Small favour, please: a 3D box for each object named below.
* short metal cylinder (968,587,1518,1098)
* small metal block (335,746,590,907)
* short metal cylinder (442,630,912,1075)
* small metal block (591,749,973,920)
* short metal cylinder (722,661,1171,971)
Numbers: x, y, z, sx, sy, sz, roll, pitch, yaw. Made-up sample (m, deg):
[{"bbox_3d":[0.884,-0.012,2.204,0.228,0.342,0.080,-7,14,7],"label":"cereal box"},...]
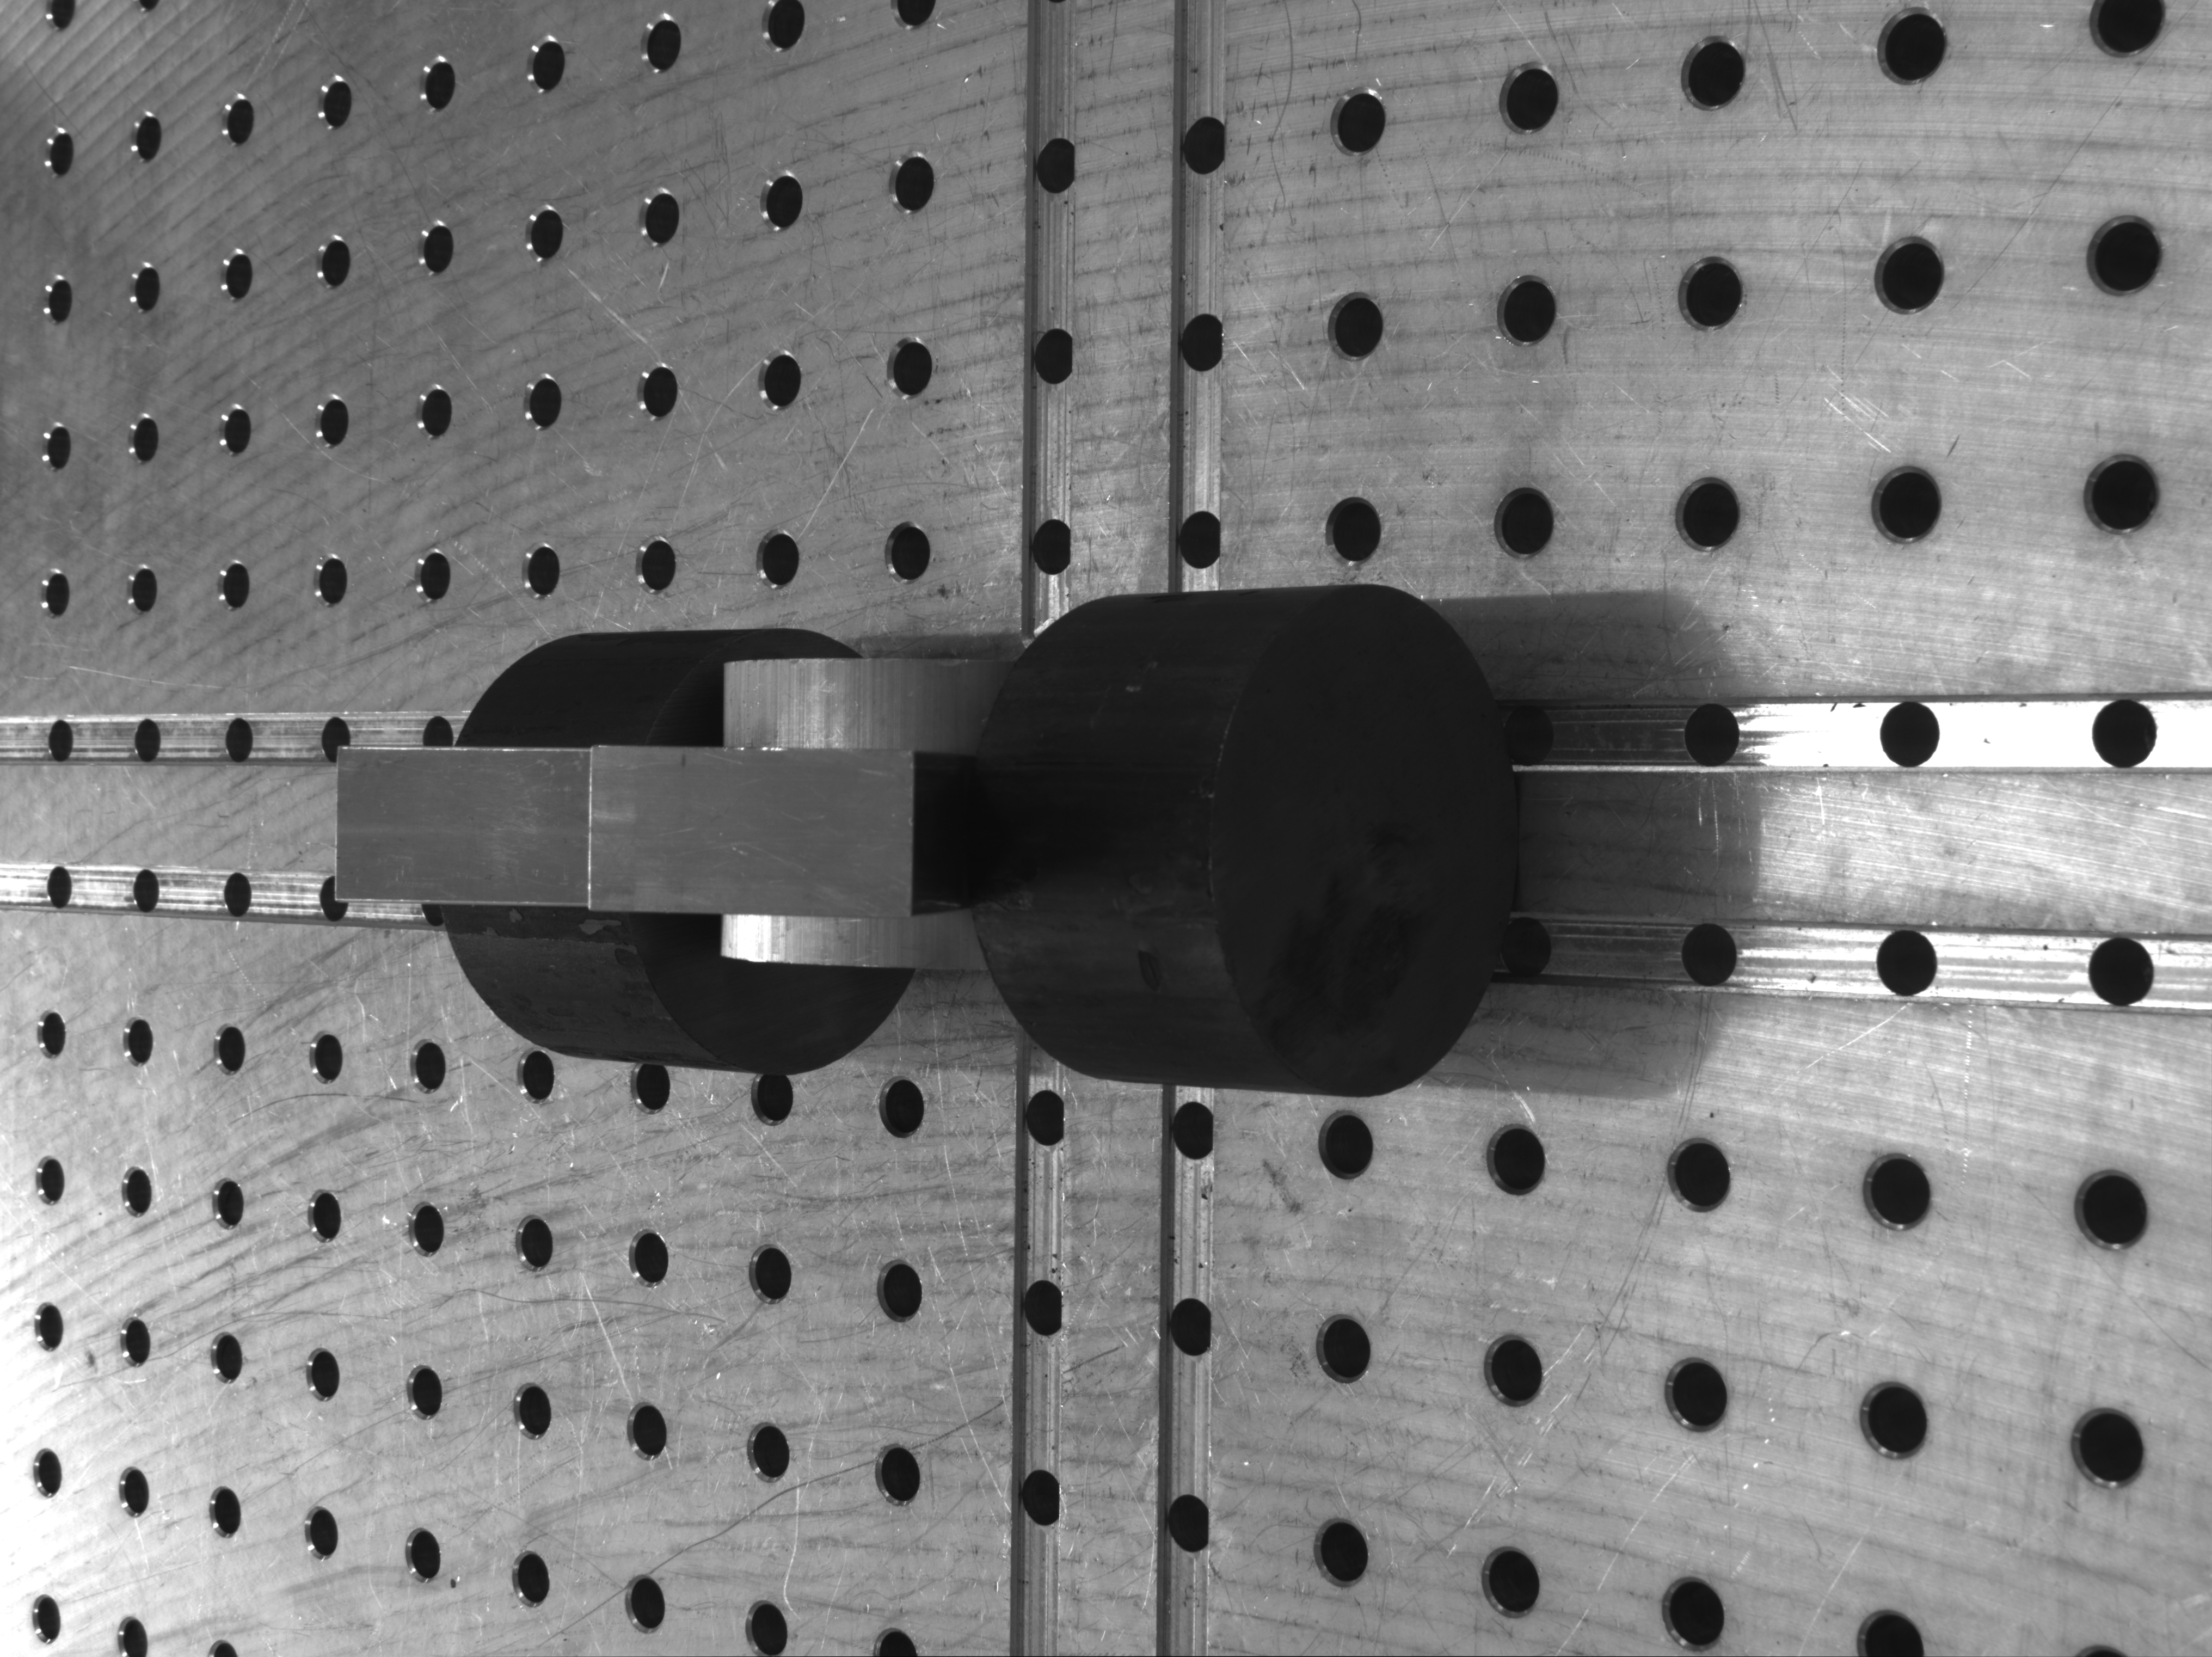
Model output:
[{"bbox_3d":[0.023,0.002,0.592,0.050,0.080,0.080,1,90,41],"label":"short metal cylinder"},{"bbox_3d":[-0.094,0.000,0.605,0.050,0.050,0.025,1,90,9],"label":"small metal block"},{"bbox_3d":[-0.076,0.004,0.676,0.050,0.080,0.080,1,91,40],"label":"short metal cylinder"},{"bbox_3d":[-0.048,0.001,0.573,0.050,0.050,0.025,1,90,10],"label":"small metal block"},{"bbox_3d":[-0.026,-0.002,0.635,0.080,0.080,0.050,1,91,40],"label":"short metal cylinder"}]
